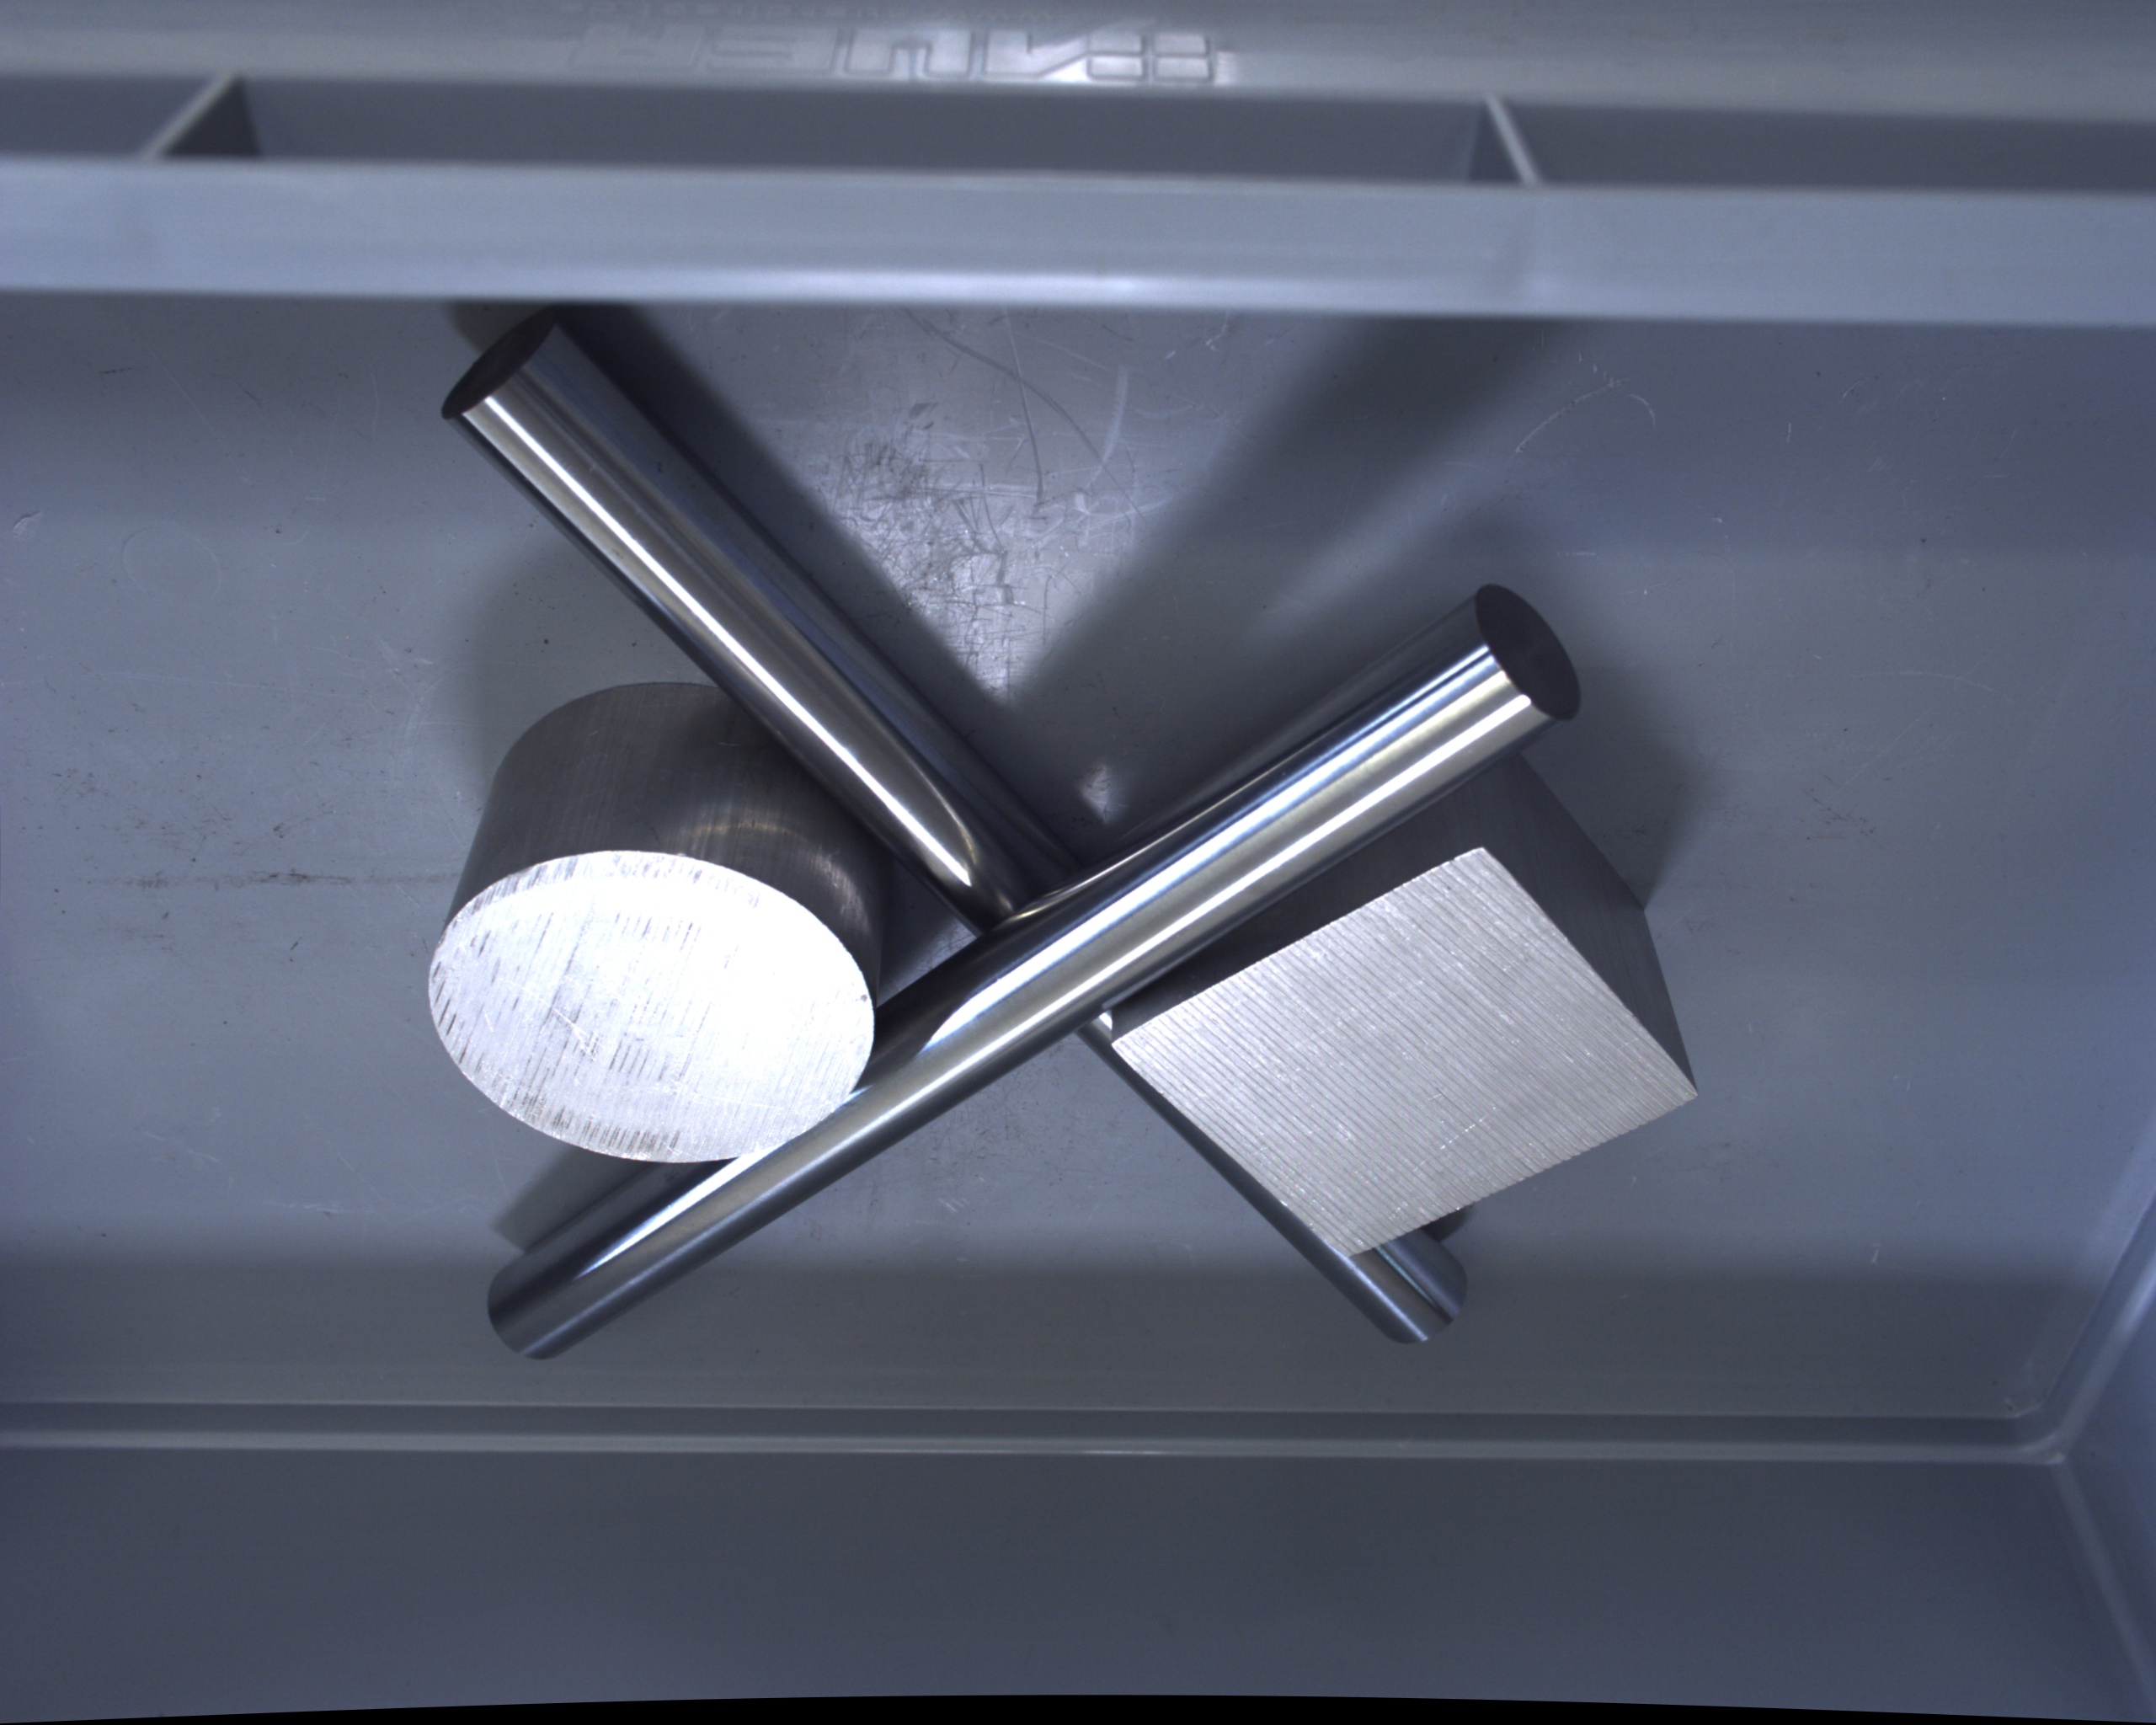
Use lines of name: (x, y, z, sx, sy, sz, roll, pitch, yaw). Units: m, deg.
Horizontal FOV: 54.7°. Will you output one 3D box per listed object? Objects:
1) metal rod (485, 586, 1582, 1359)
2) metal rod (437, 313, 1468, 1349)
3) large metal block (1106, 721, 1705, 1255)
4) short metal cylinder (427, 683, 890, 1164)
metal rod: (-0.030, 0.037, 0.410, 0.025, 0.025, 0.299, 35, 130, -26)
metal rod: (-0.006, 0.012, 0.416, 0.025, 0.025, 0.300, -29, 125, 22)
large metal block: (0.062, 0.022, 0.408, 0.080, 0.050, 0.080, -31, 124, 23)
short metal cylinder: (-0.078, 0.013, 0.400, 0.081, 0.050, 0.079, 0, 130, 0)
